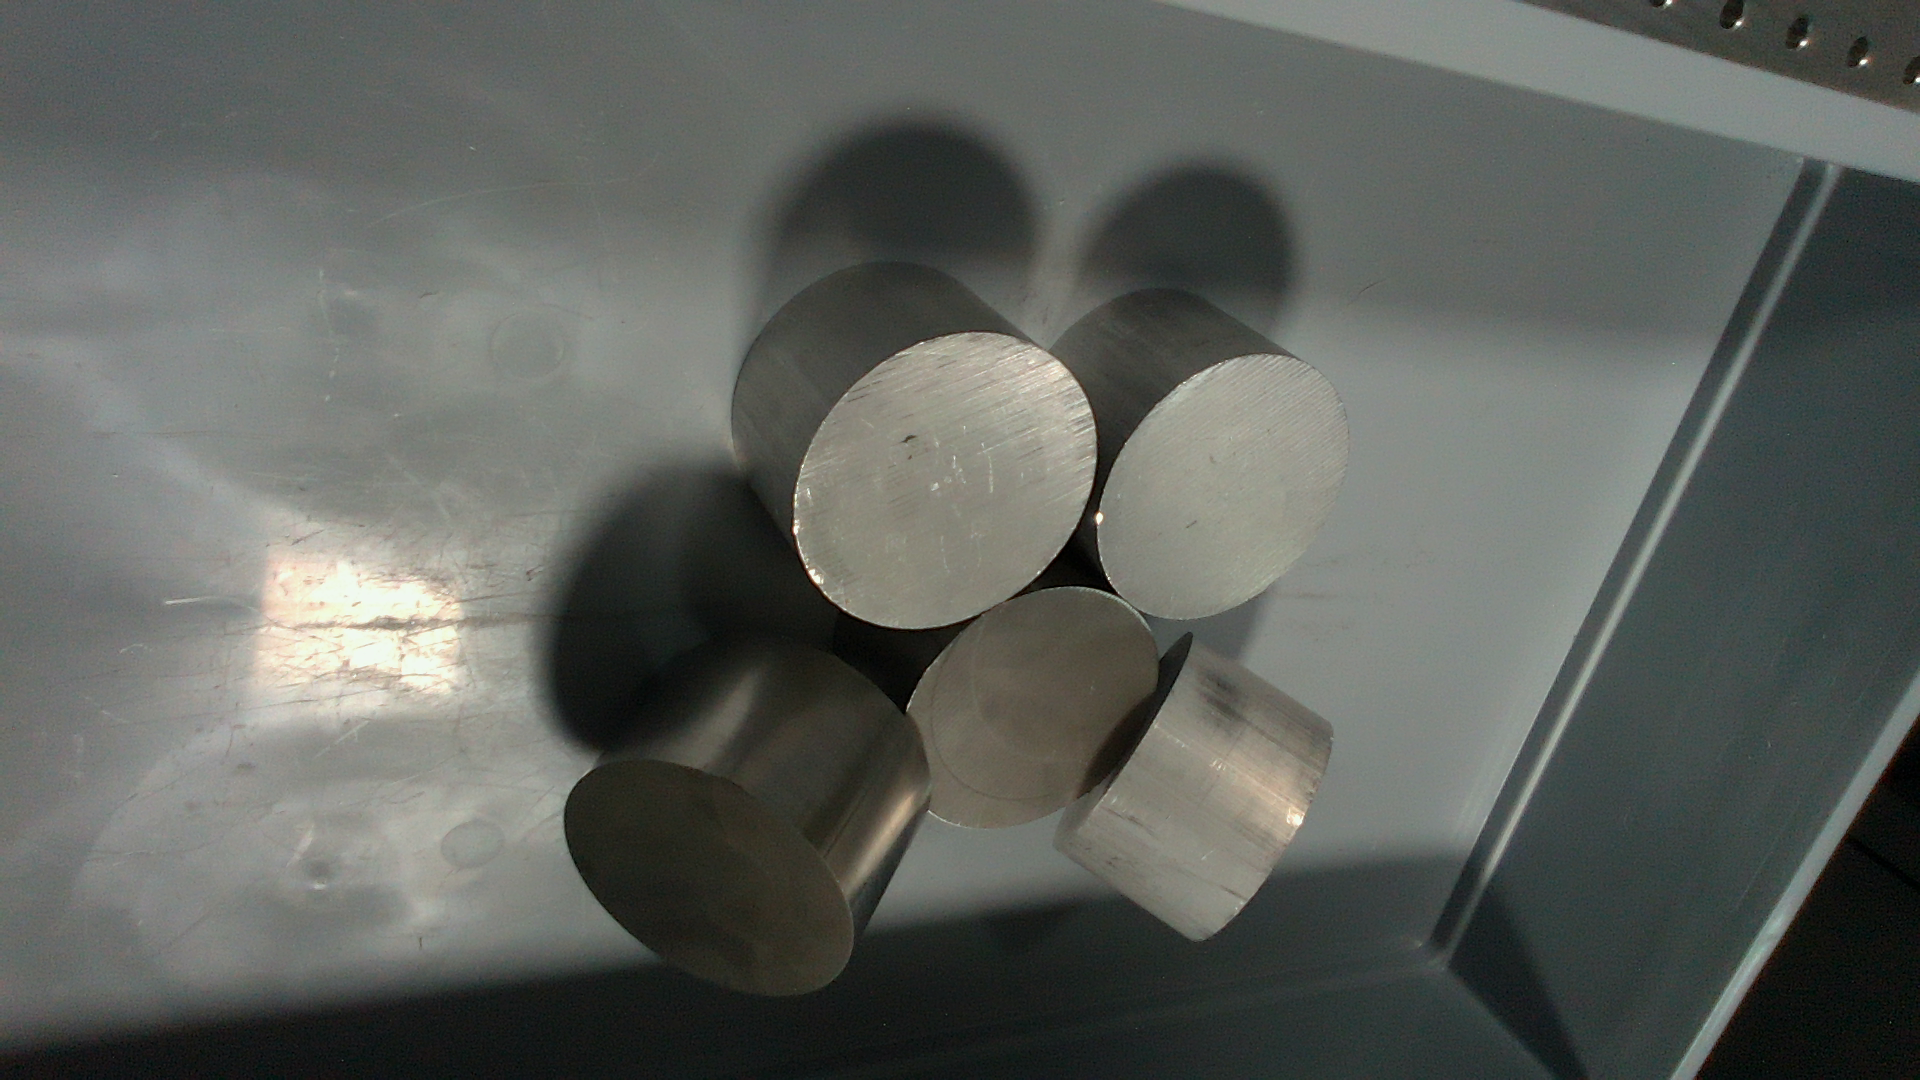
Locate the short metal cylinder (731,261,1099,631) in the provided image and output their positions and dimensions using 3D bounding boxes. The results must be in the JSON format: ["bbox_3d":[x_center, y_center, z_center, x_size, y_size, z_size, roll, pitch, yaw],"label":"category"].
[{"bbox_3d":[-0.012,-0.024,0.349,0.080,0.050,0.080,-14,124,-21],"label":"short metal cylinder"}]

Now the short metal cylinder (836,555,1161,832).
[{"bbox_3d":[0.011,0.037,0.397,0.080,0.050,0.080,-14,124,-21],"label":"short metal cylinder"}]

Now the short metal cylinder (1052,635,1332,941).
[{"bbox_3d":[0.071,0.076,0.429,0.050,0.080,0.080,33,103,2],"label":"short metal cylinder"}]

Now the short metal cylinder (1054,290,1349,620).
[{"bbox_3d":[0.062,-0.025,0.390,0.080,0.050,0.080,-14,124,-21],"label":"short metal cylinder"}]

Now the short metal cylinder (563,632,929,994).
[{"bbox_3d":[-0.055,0.071,0.359,0.050,0.080,0.080,-57,148,-49],"label":"short metal cylinder"}]
